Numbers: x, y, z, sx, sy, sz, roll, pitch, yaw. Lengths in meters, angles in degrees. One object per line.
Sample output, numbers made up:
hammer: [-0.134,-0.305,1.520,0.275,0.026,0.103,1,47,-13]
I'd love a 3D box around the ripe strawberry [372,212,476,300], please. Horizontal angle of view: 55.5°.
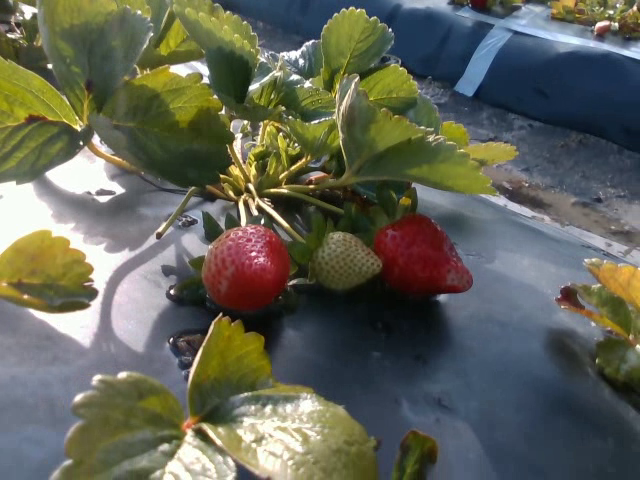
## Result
ripe strawberry: [0.055,0.011,0.310,0.065,0.048,0.050,45,-6,37]
